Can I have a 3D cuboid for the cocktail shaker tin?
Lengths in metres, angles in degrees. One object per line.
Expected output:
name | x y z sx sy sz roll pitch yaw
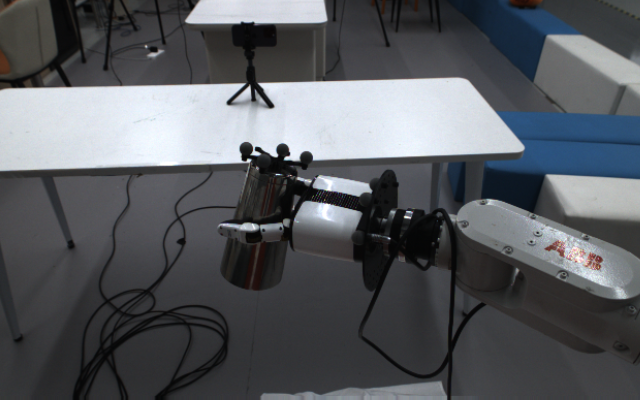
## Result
cocktail shaker tin | -0.079 0.028 0.676 0.093 0.170 0.093 12 24 -5
